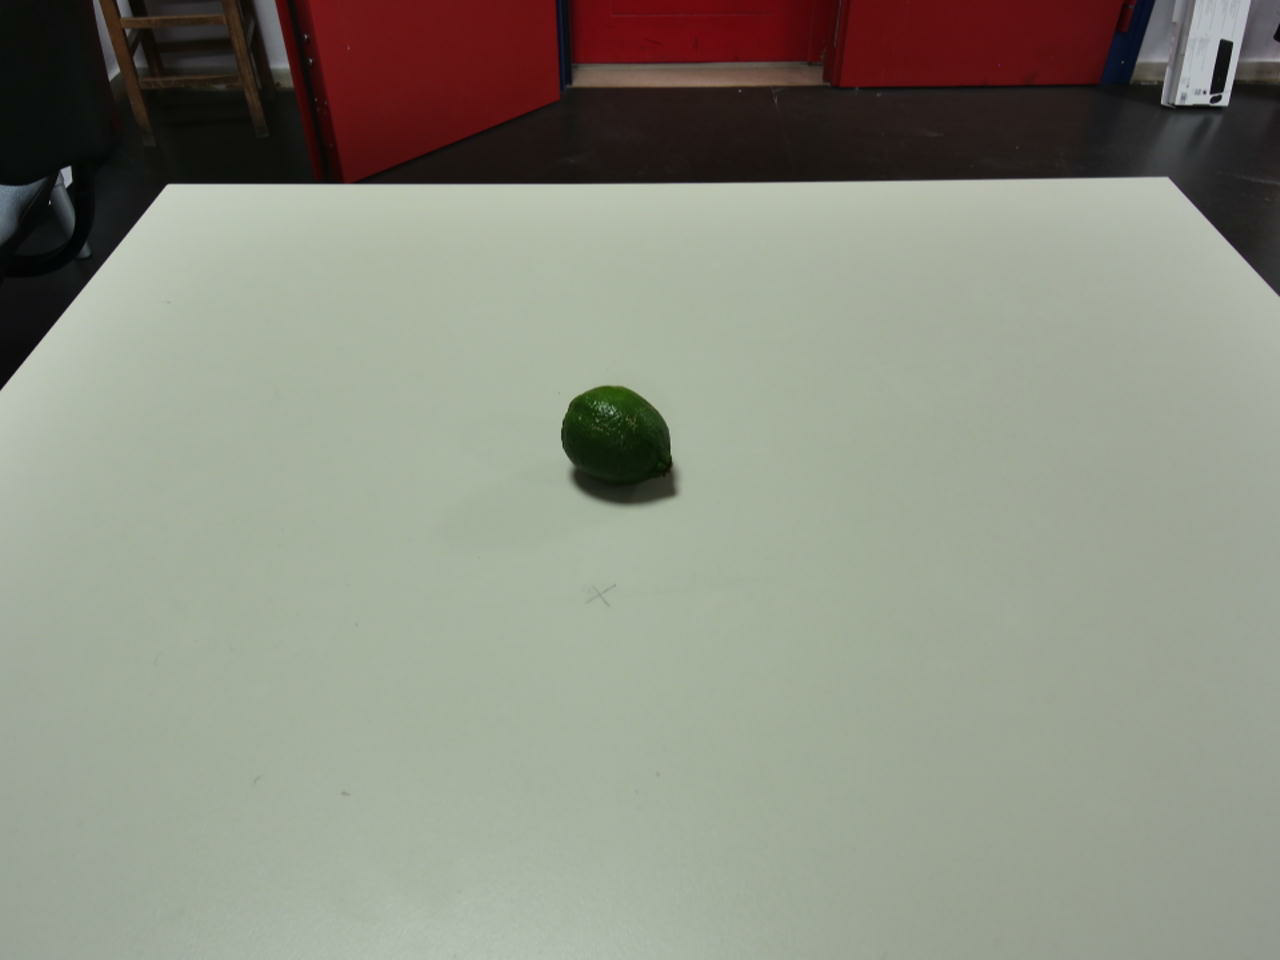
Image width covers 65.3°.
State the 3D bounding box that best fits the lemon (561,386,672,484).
[{"bbox_3d":[-0.013,-0.024,0.532,0.057,0.051,0.054,-3,39,-3],"label":"lemon"}]
